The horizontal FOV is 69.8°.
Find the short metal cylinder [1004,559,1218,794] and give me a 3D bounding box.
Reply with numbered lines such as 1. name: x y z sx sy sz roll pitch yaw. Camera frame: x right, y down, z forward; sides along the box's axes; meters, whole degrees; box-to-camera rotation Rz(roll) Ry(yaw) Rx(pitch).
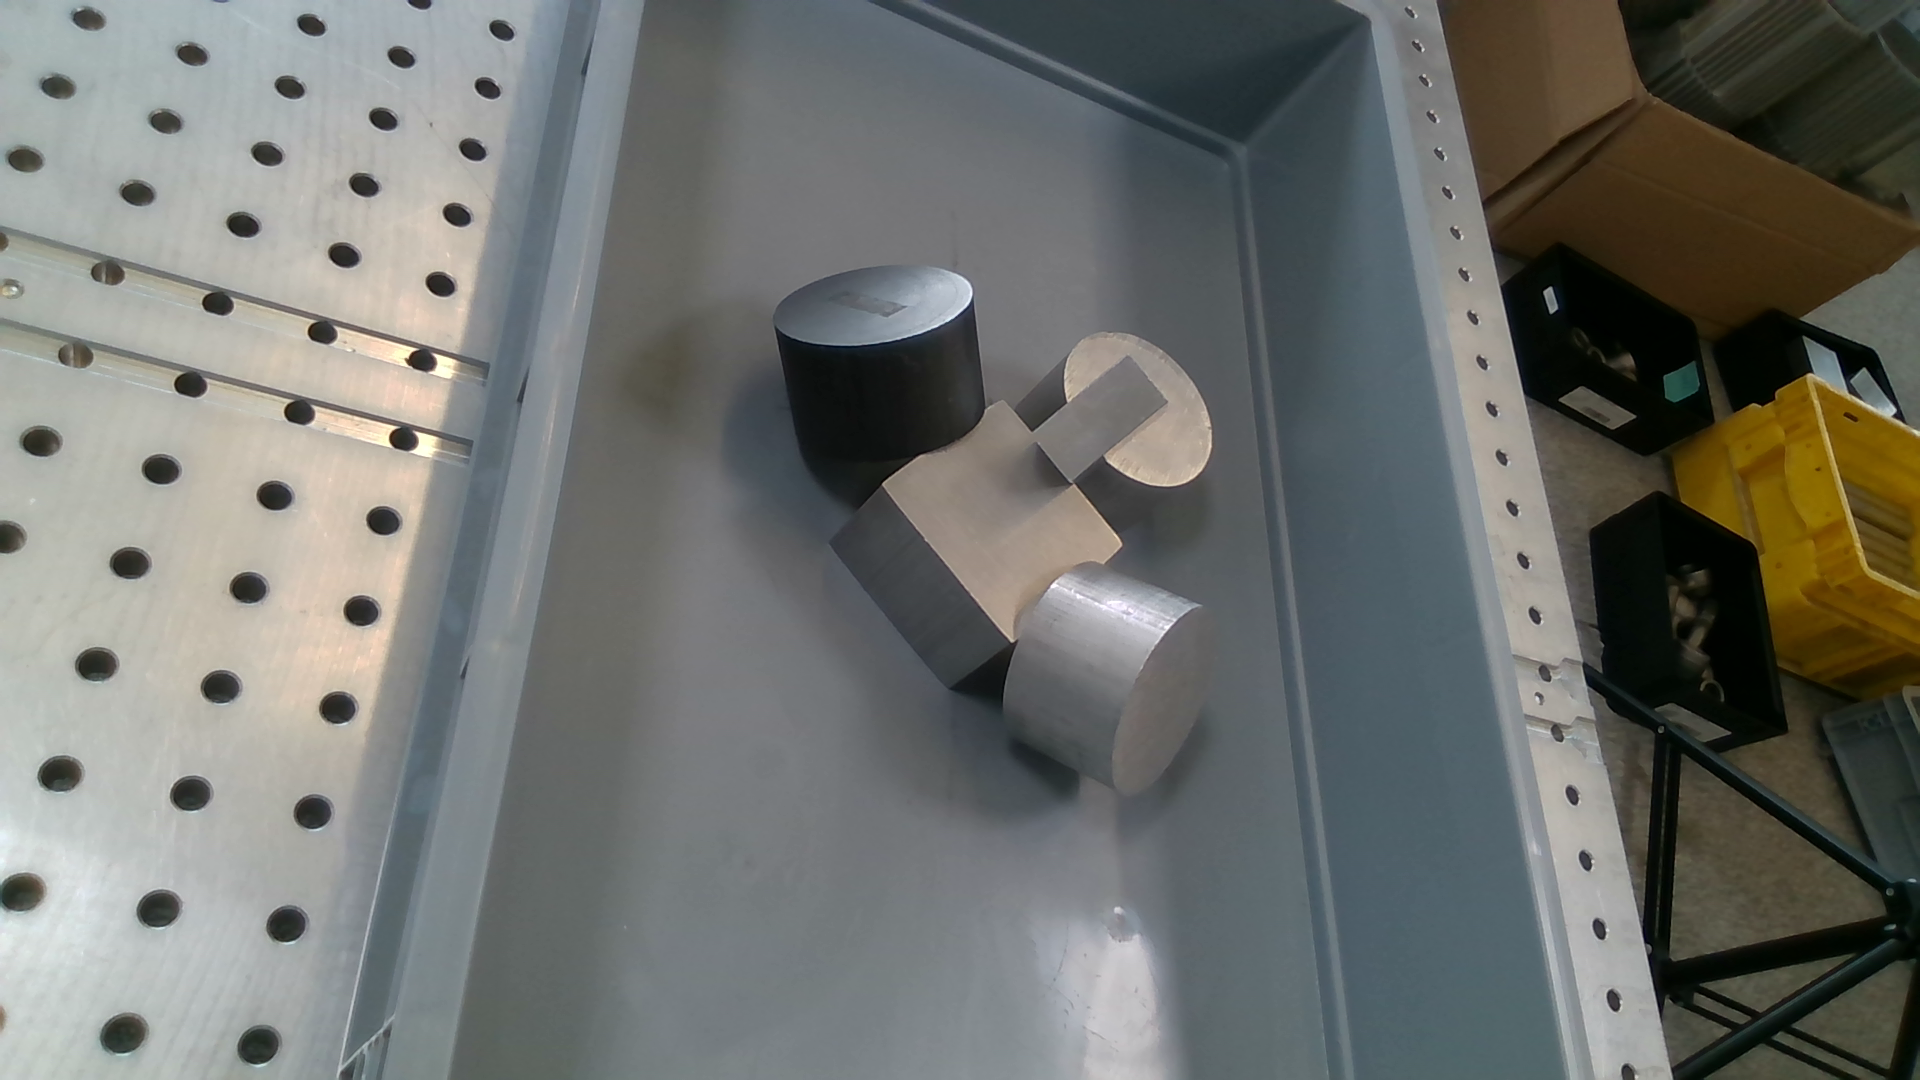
1. short metal cylinder: 0.061 0.054 0.549 0.050 0.080 0.080 23 43 30

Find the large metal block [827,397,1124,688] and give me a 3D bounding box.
1. large metal block: 0.007 0.000 0.570 0.080 0.050 0.080 51 51 2

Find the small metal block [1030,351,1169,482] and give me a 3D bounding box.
1. small metal block: 0.058 -0.049 0.567 0.025 0.050 0.050 51 7 4

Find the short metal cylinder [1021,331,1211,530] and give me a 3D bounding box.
1. short metal cylinder: 0.069 -0.049 0.638 0.080 0.050 0.080 14 59 -25

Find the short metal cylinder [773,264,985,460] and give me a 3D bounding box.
1. short metal cylinder: -0.032 -0.074 0.562 0.080 0.050 0.080 -6 32 4
